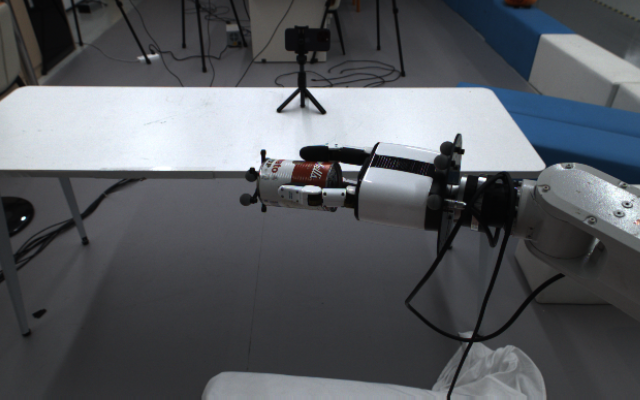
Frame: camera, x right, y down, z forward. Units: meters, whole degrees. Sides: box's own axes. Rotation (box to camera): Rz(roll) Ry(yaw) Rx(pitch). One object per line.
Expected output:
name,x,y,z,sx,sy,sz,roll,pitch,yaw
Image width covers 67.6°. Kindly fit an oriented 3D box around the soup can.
soup can,-0.025,-0.021,0.664,0.101,0.067,0.067,5,34,18
